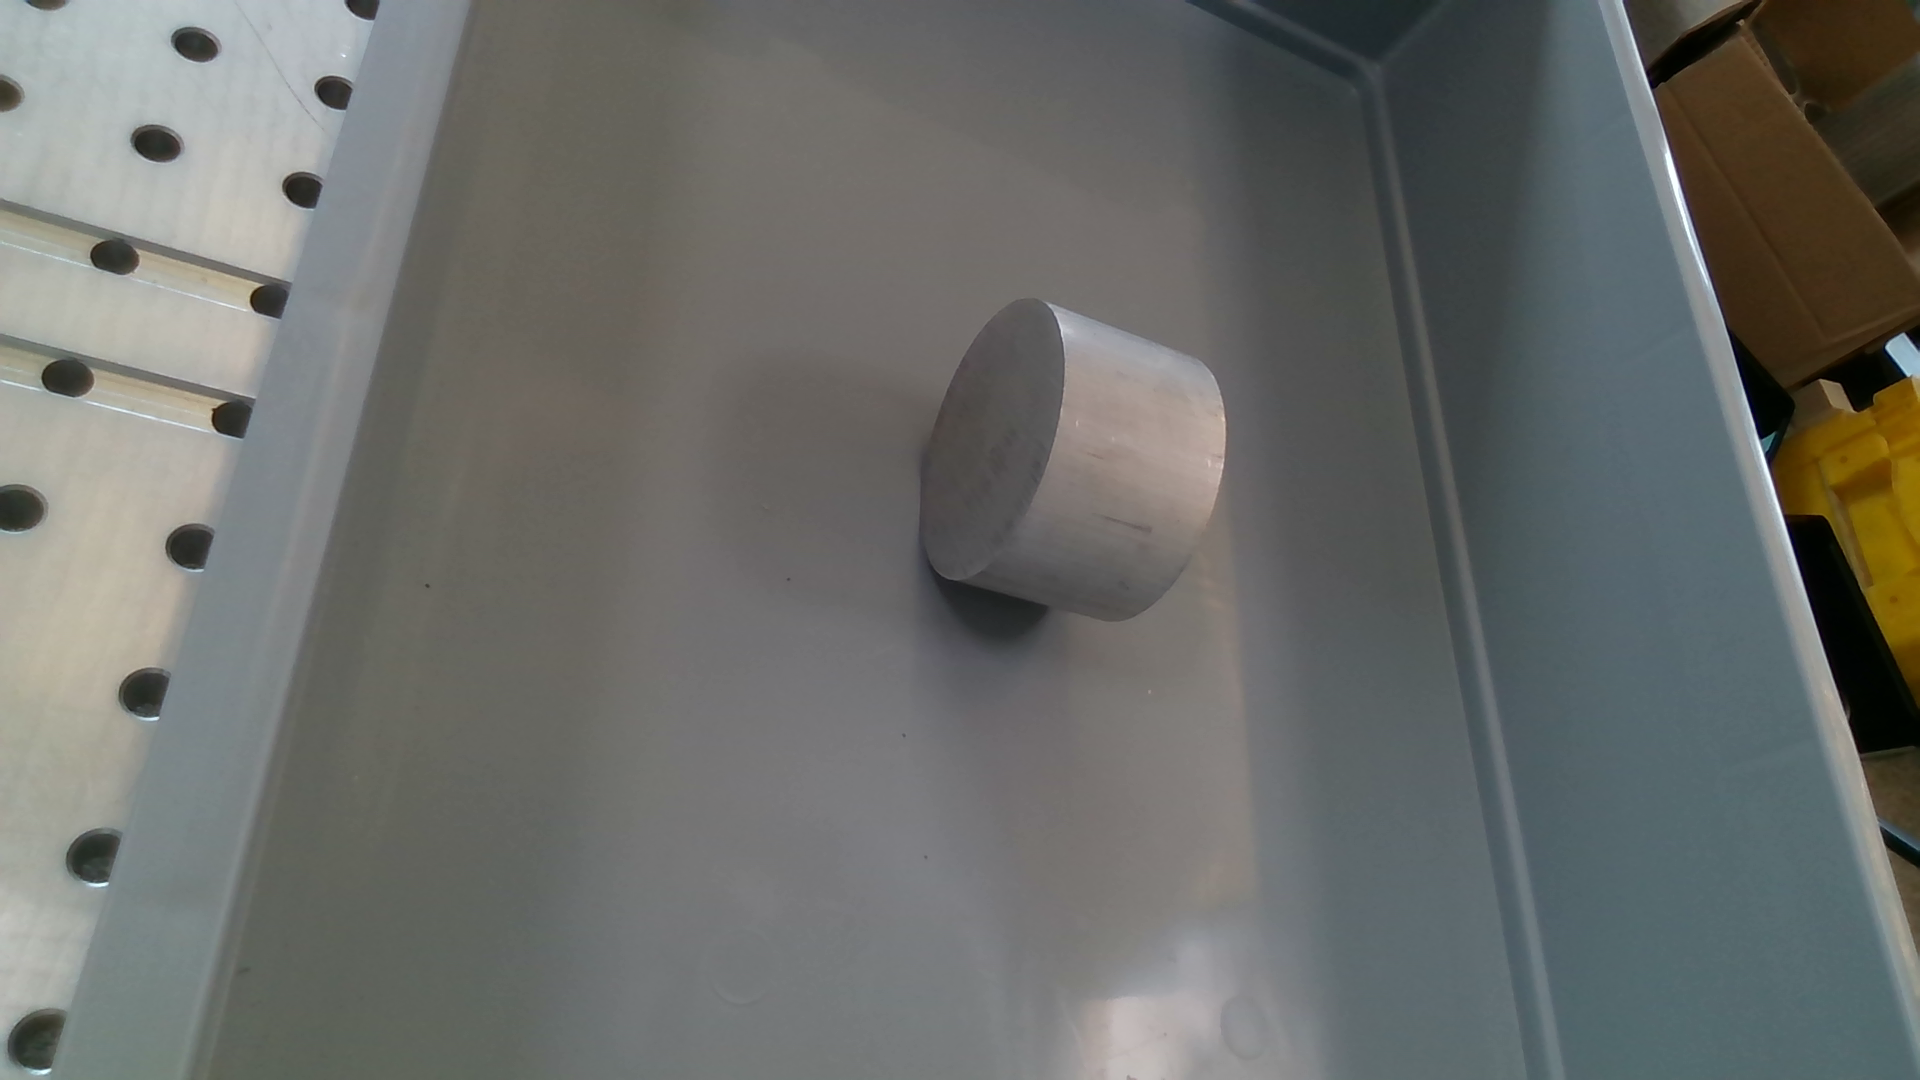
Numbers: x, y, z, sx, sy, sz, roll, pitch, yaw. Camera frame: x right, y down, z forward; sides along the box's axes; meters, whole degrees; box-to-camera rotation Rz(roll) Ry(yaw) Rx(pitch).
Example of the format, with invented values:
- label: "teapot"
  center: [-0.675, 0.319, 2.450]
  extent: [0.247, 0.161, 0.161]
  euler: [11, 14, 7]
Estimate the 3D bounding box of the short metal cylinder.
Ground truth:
- label: "short metal cylinder"
  center: [0.029, -0.022, 0.384]
  extent: [0.050, 0.080, 0.080]
  euler: [16, 58, -24]
